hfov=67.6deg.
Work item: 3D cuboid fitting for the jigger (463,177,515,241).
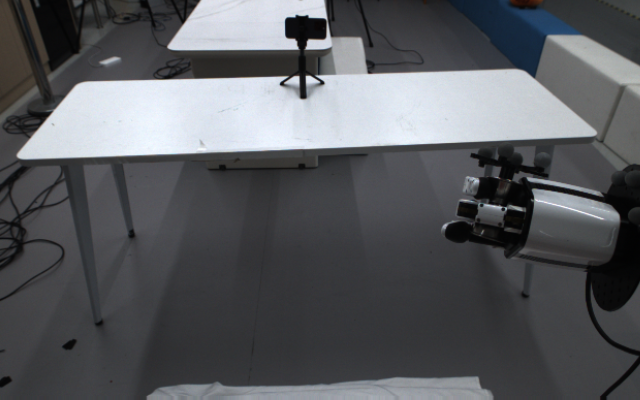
[{"bbox_3d":[0.200,0.010,0.549,0.043,0.071,0.043,17,2,-1],"label":"jigger"}]
